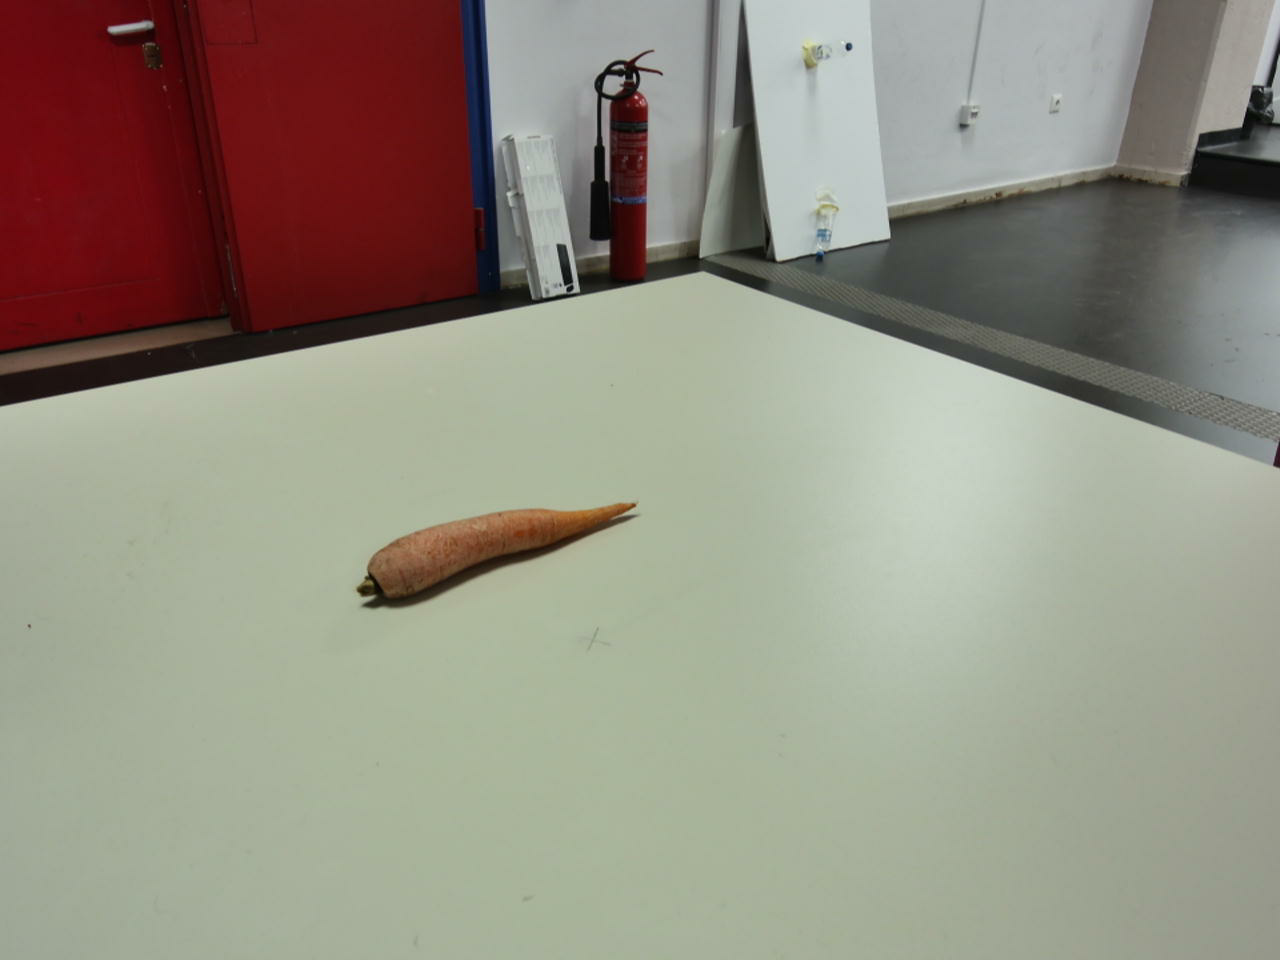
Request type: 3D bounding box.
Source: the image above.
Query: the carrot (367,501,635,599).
[{"bbox_3d":[-0.072,0.028,0.536,0.163,0.029,0.031,-18,30,-33],"label":"carrot"}]
